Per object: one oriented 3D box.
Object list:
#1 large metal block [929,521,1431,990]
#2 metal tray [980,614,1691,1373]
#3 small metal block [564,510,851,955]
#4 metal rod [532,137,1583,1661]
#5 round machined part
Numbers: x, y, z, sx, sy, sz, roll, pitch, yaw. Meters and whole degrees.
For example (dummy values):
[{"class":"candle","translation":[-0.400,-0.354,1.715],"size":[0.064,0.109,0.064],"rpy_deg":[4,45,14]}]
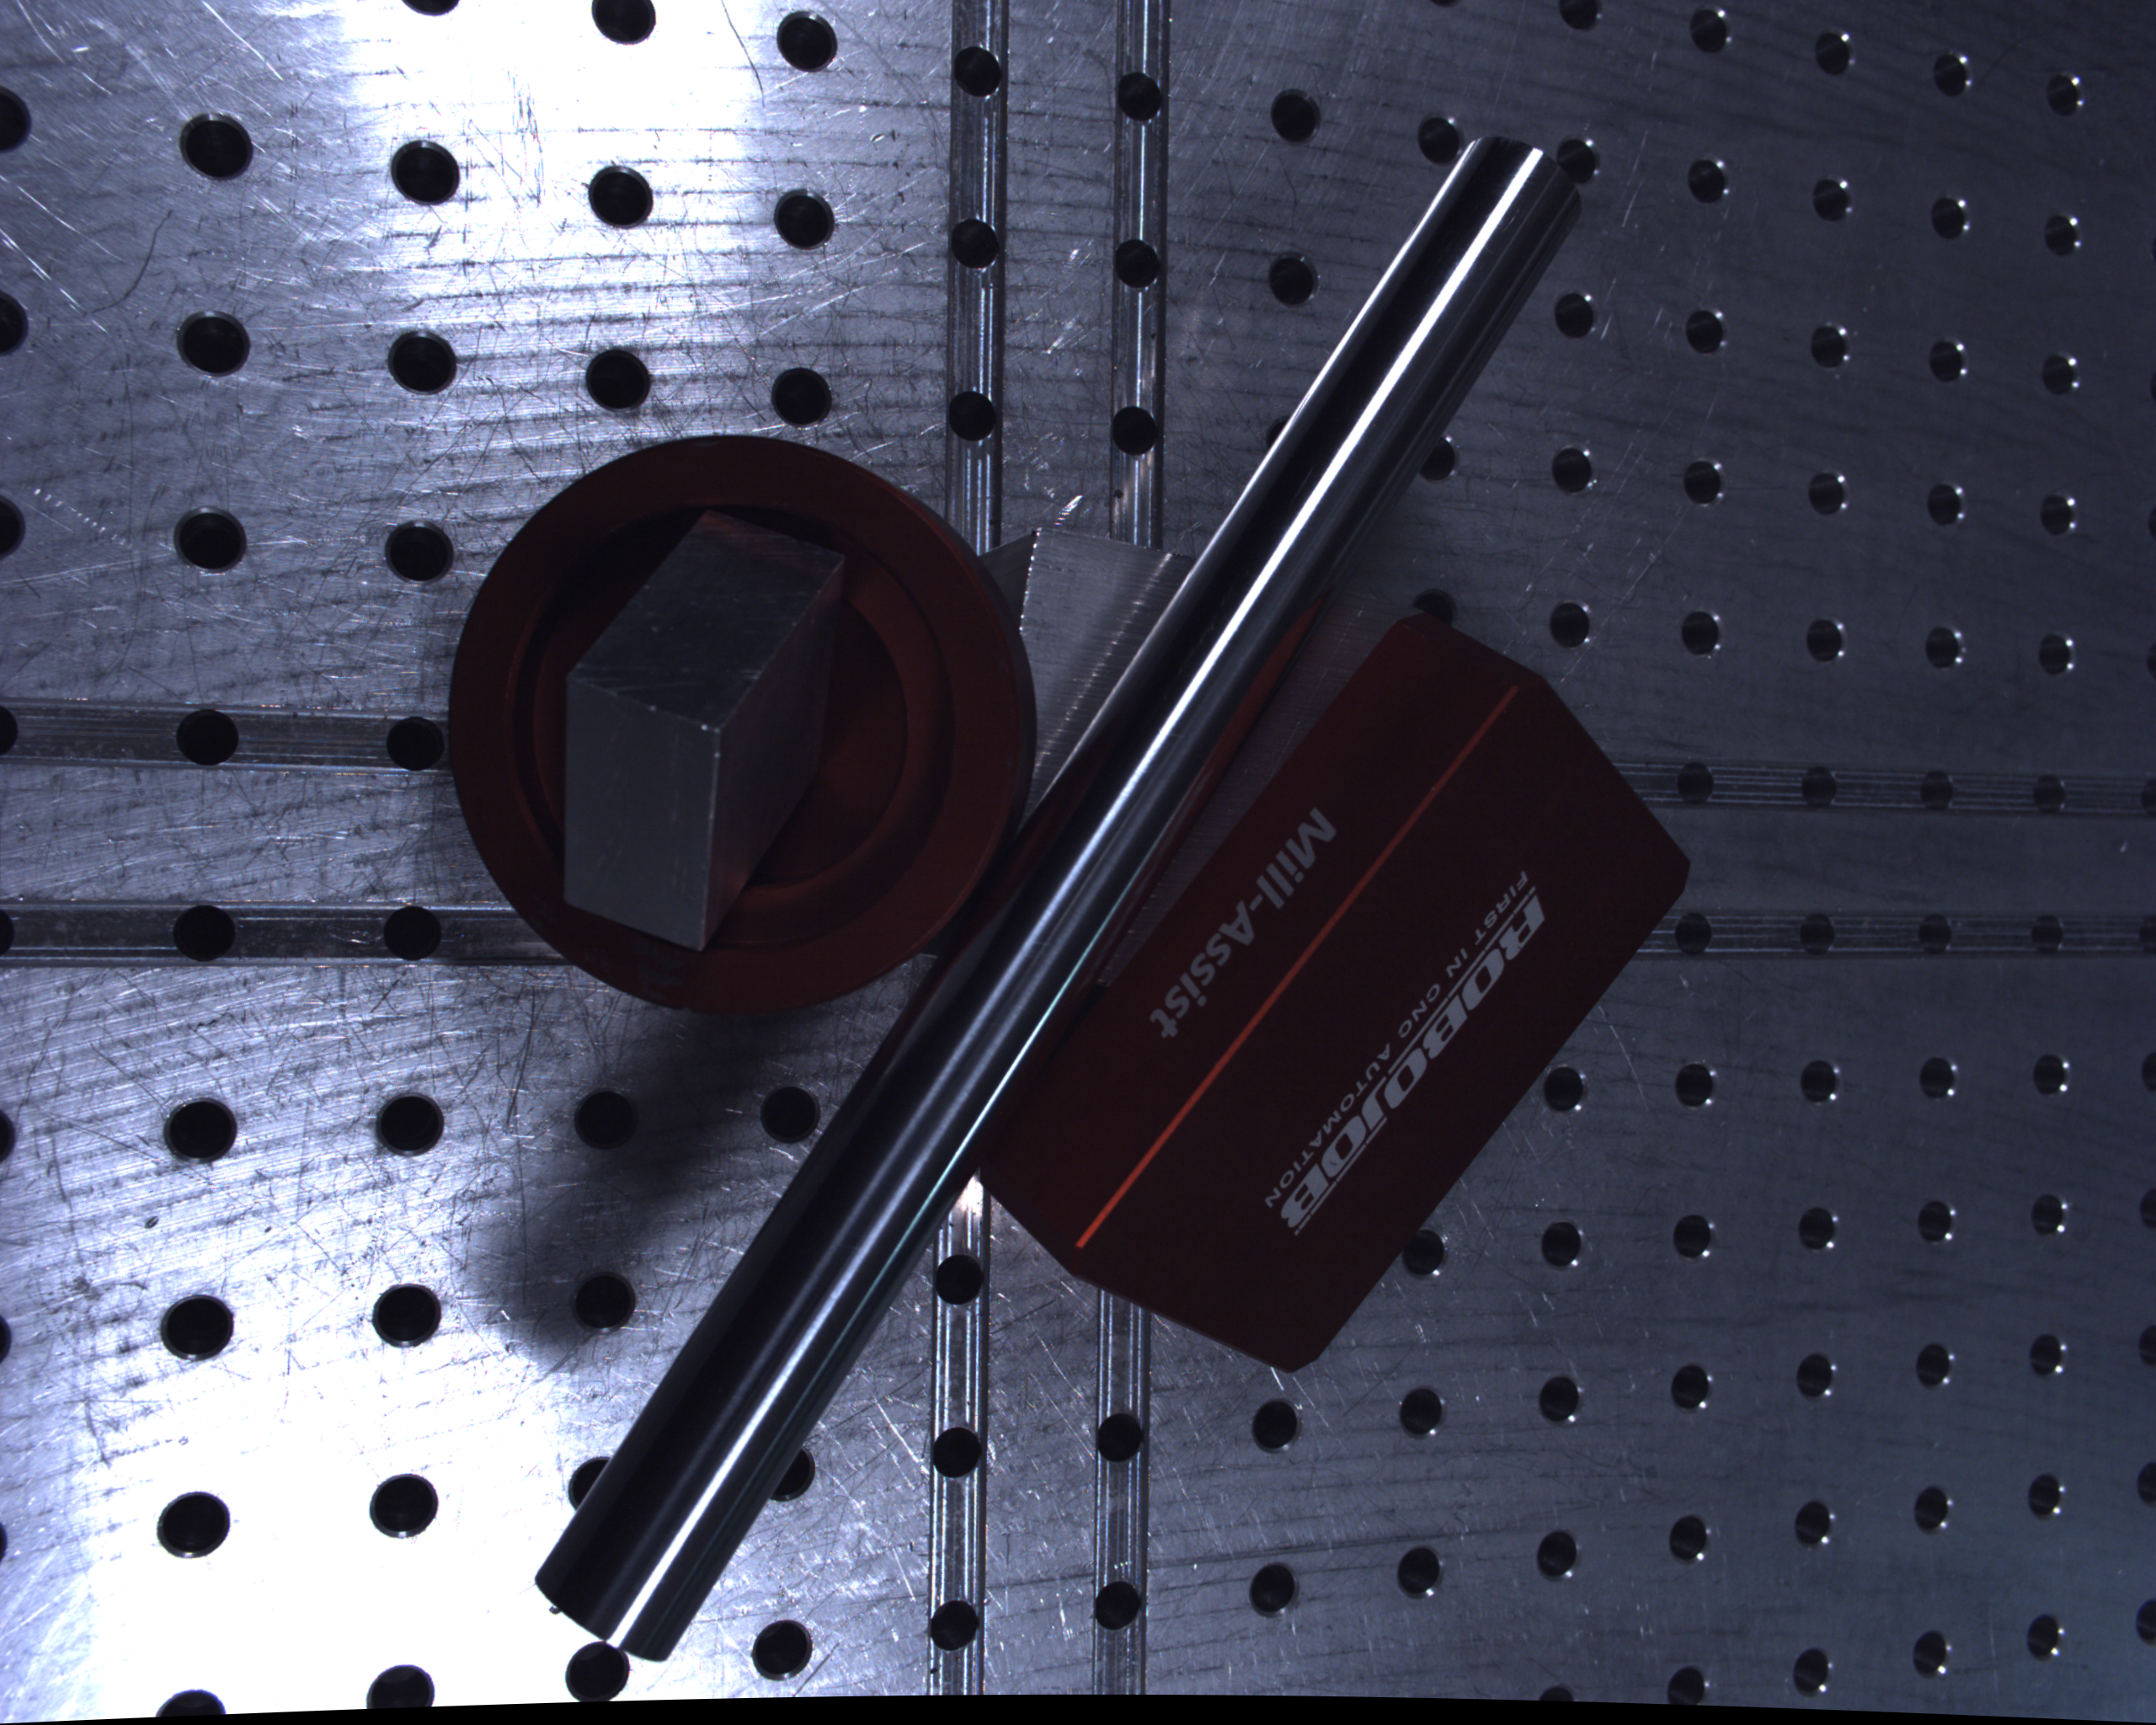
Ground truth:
[{"class":"large metal block","translation":[0.015,-0.015,0.406],"size":[0.081,0.050,0.080],"rpy_deg":[10,87,-20]},{"class":"metal tray","translation":[0.052,0.029,0.395],"size":[0.130,0.030,0.090],"rpy_deg":[-52,139,1]},{"class":"small metal block","translation":[-0.062,-0.022,0.347],"size":[0.025,0.050,0.050],"rpy_deg":[20,44,6]},{"class":"metal rod","translation":[0.004,-0.003,0.361],"size":[0.025,0.025,0.300],"rpy_deg":[36,78,-17]},{"class":"round machined part","translation":[-0.056,-0.024,0.370],"size":[0.099,0.042,0.097],"rpy_deg":[0,93,5]}]
